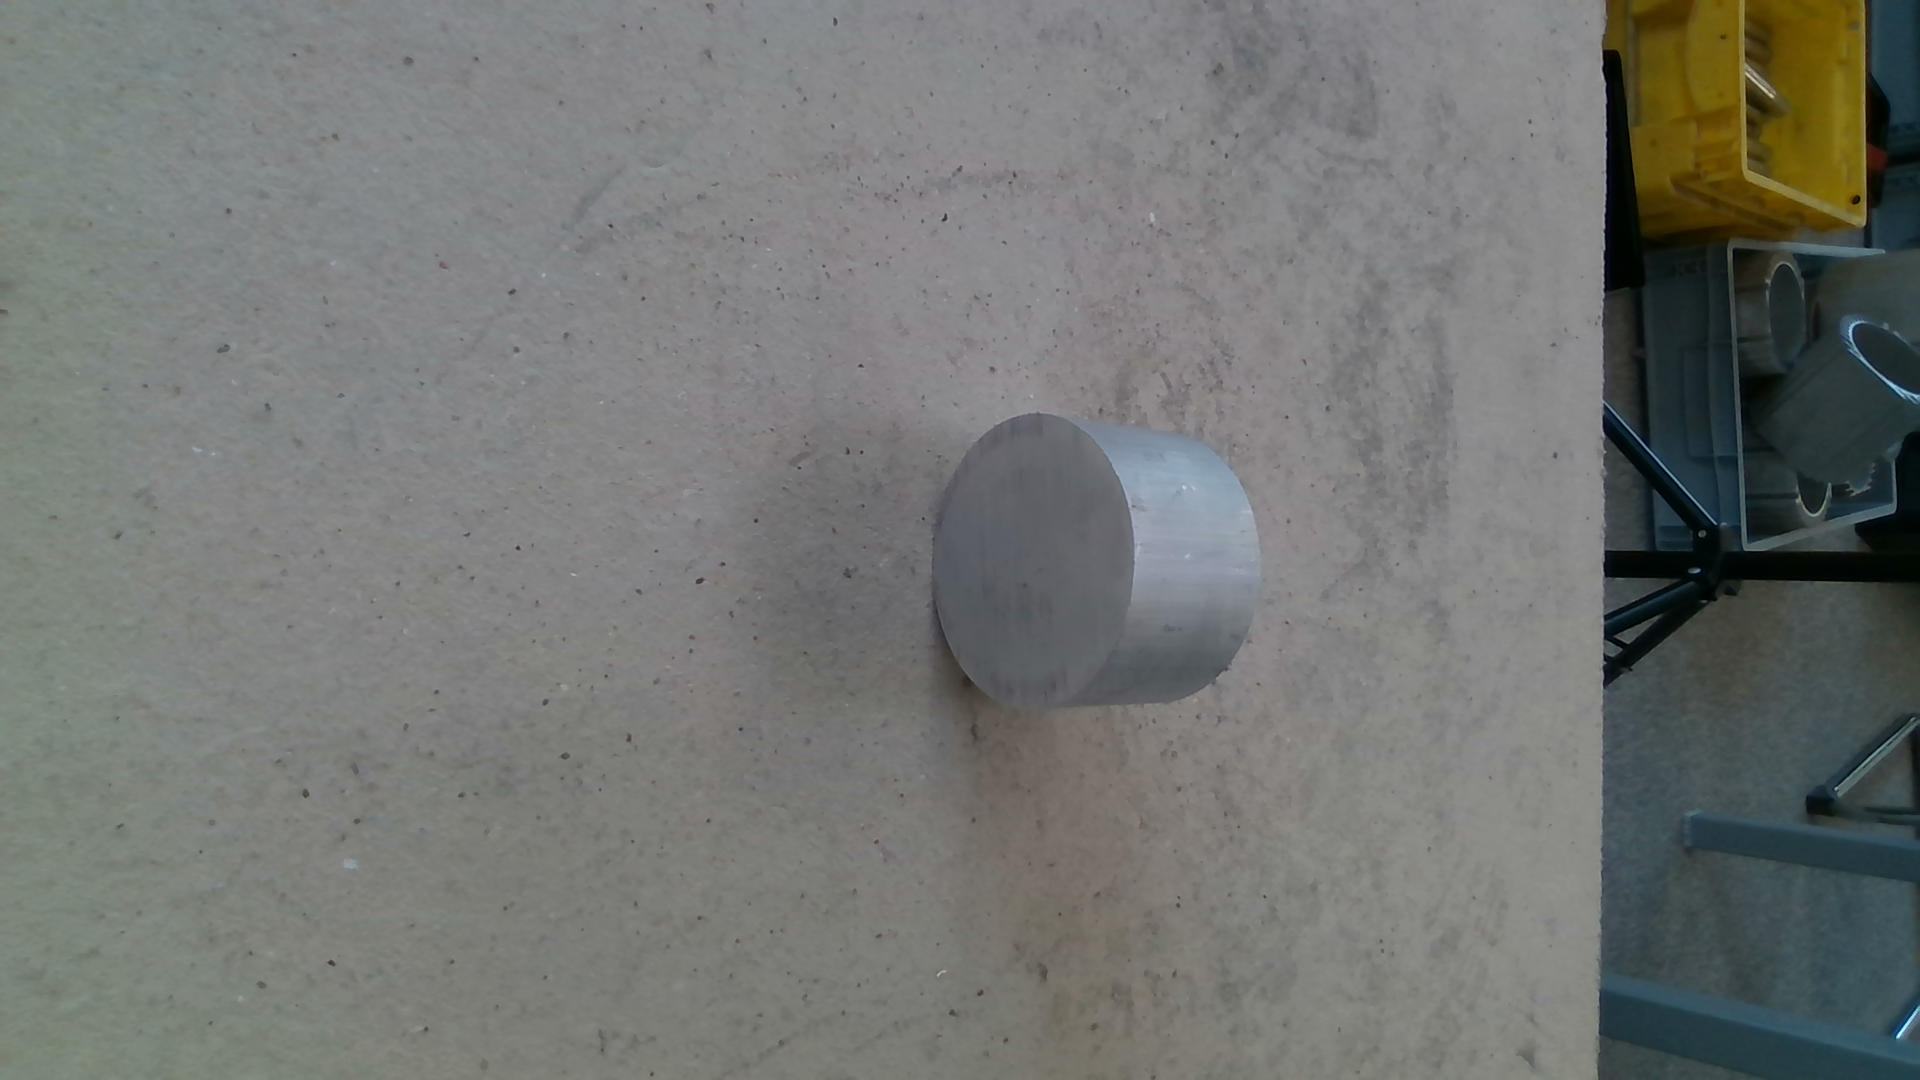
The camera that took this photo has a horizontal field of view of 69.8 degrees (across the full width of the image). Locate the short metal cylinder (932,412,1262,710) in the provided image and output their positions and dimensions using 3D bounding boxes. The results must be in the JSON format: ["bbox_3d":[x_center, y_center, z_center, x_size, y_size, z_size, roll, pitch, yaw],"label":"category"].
[{"bbox_3d":[0.037,0.006,0.386,0.050,0.080,0.080,2,89,-40],"label":"short metal cylinder"}]
